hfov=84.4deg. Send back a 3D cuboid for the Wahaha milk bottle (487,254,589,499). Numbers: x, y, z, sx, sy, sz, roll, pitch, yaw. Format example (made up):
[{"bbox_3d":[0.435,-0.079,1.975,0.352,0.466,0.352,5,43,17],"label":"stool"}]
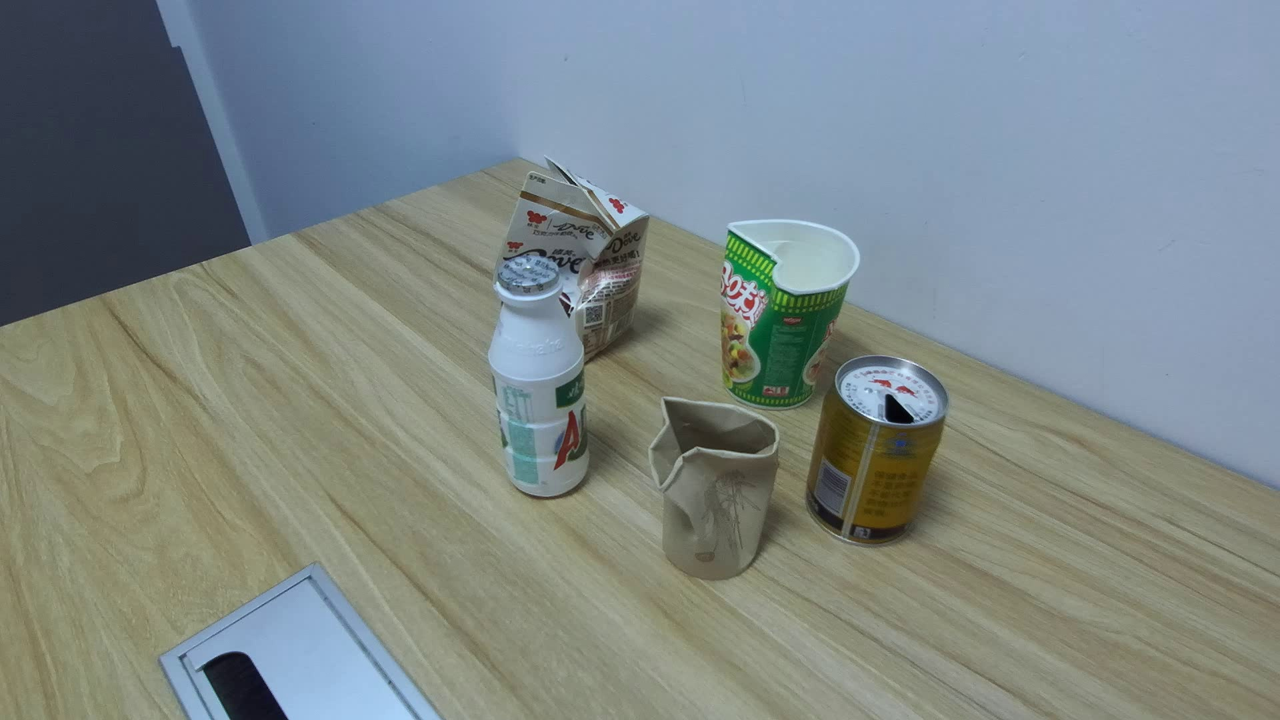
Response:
[{"bbox_3d":[-0.057,0.013,0.405,0.053,0.147,0.053,0,37,0],"label":"Wahaha milk bottle"}]

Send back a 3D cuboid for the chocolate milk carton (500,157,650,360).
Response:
[{"bbox_3d":[-0.049,-0.072,0.518,0.089,0.155,0.077,30,49,15],"label":"chocolate milk carton"}]

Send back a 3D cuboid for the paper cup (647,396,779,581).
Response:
[{"bbox_3d":[0.038,0.073,0.376,0.066,0.083,0.058,8,42,14],"label":"paper cup"}]

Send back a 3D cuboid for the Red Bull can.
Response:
[{"bbox_3d":[0.132,0.050,0.400,0.068,0.093,0.068,0,38,0],"label":"Red Bull can"}]

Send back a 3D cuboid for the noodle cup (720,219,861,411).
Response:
[{"bbox_3d":[0.098,-0.026,0.483,0.087,0.109,0.093,3,37,4],"label":"noodle cup"}]
